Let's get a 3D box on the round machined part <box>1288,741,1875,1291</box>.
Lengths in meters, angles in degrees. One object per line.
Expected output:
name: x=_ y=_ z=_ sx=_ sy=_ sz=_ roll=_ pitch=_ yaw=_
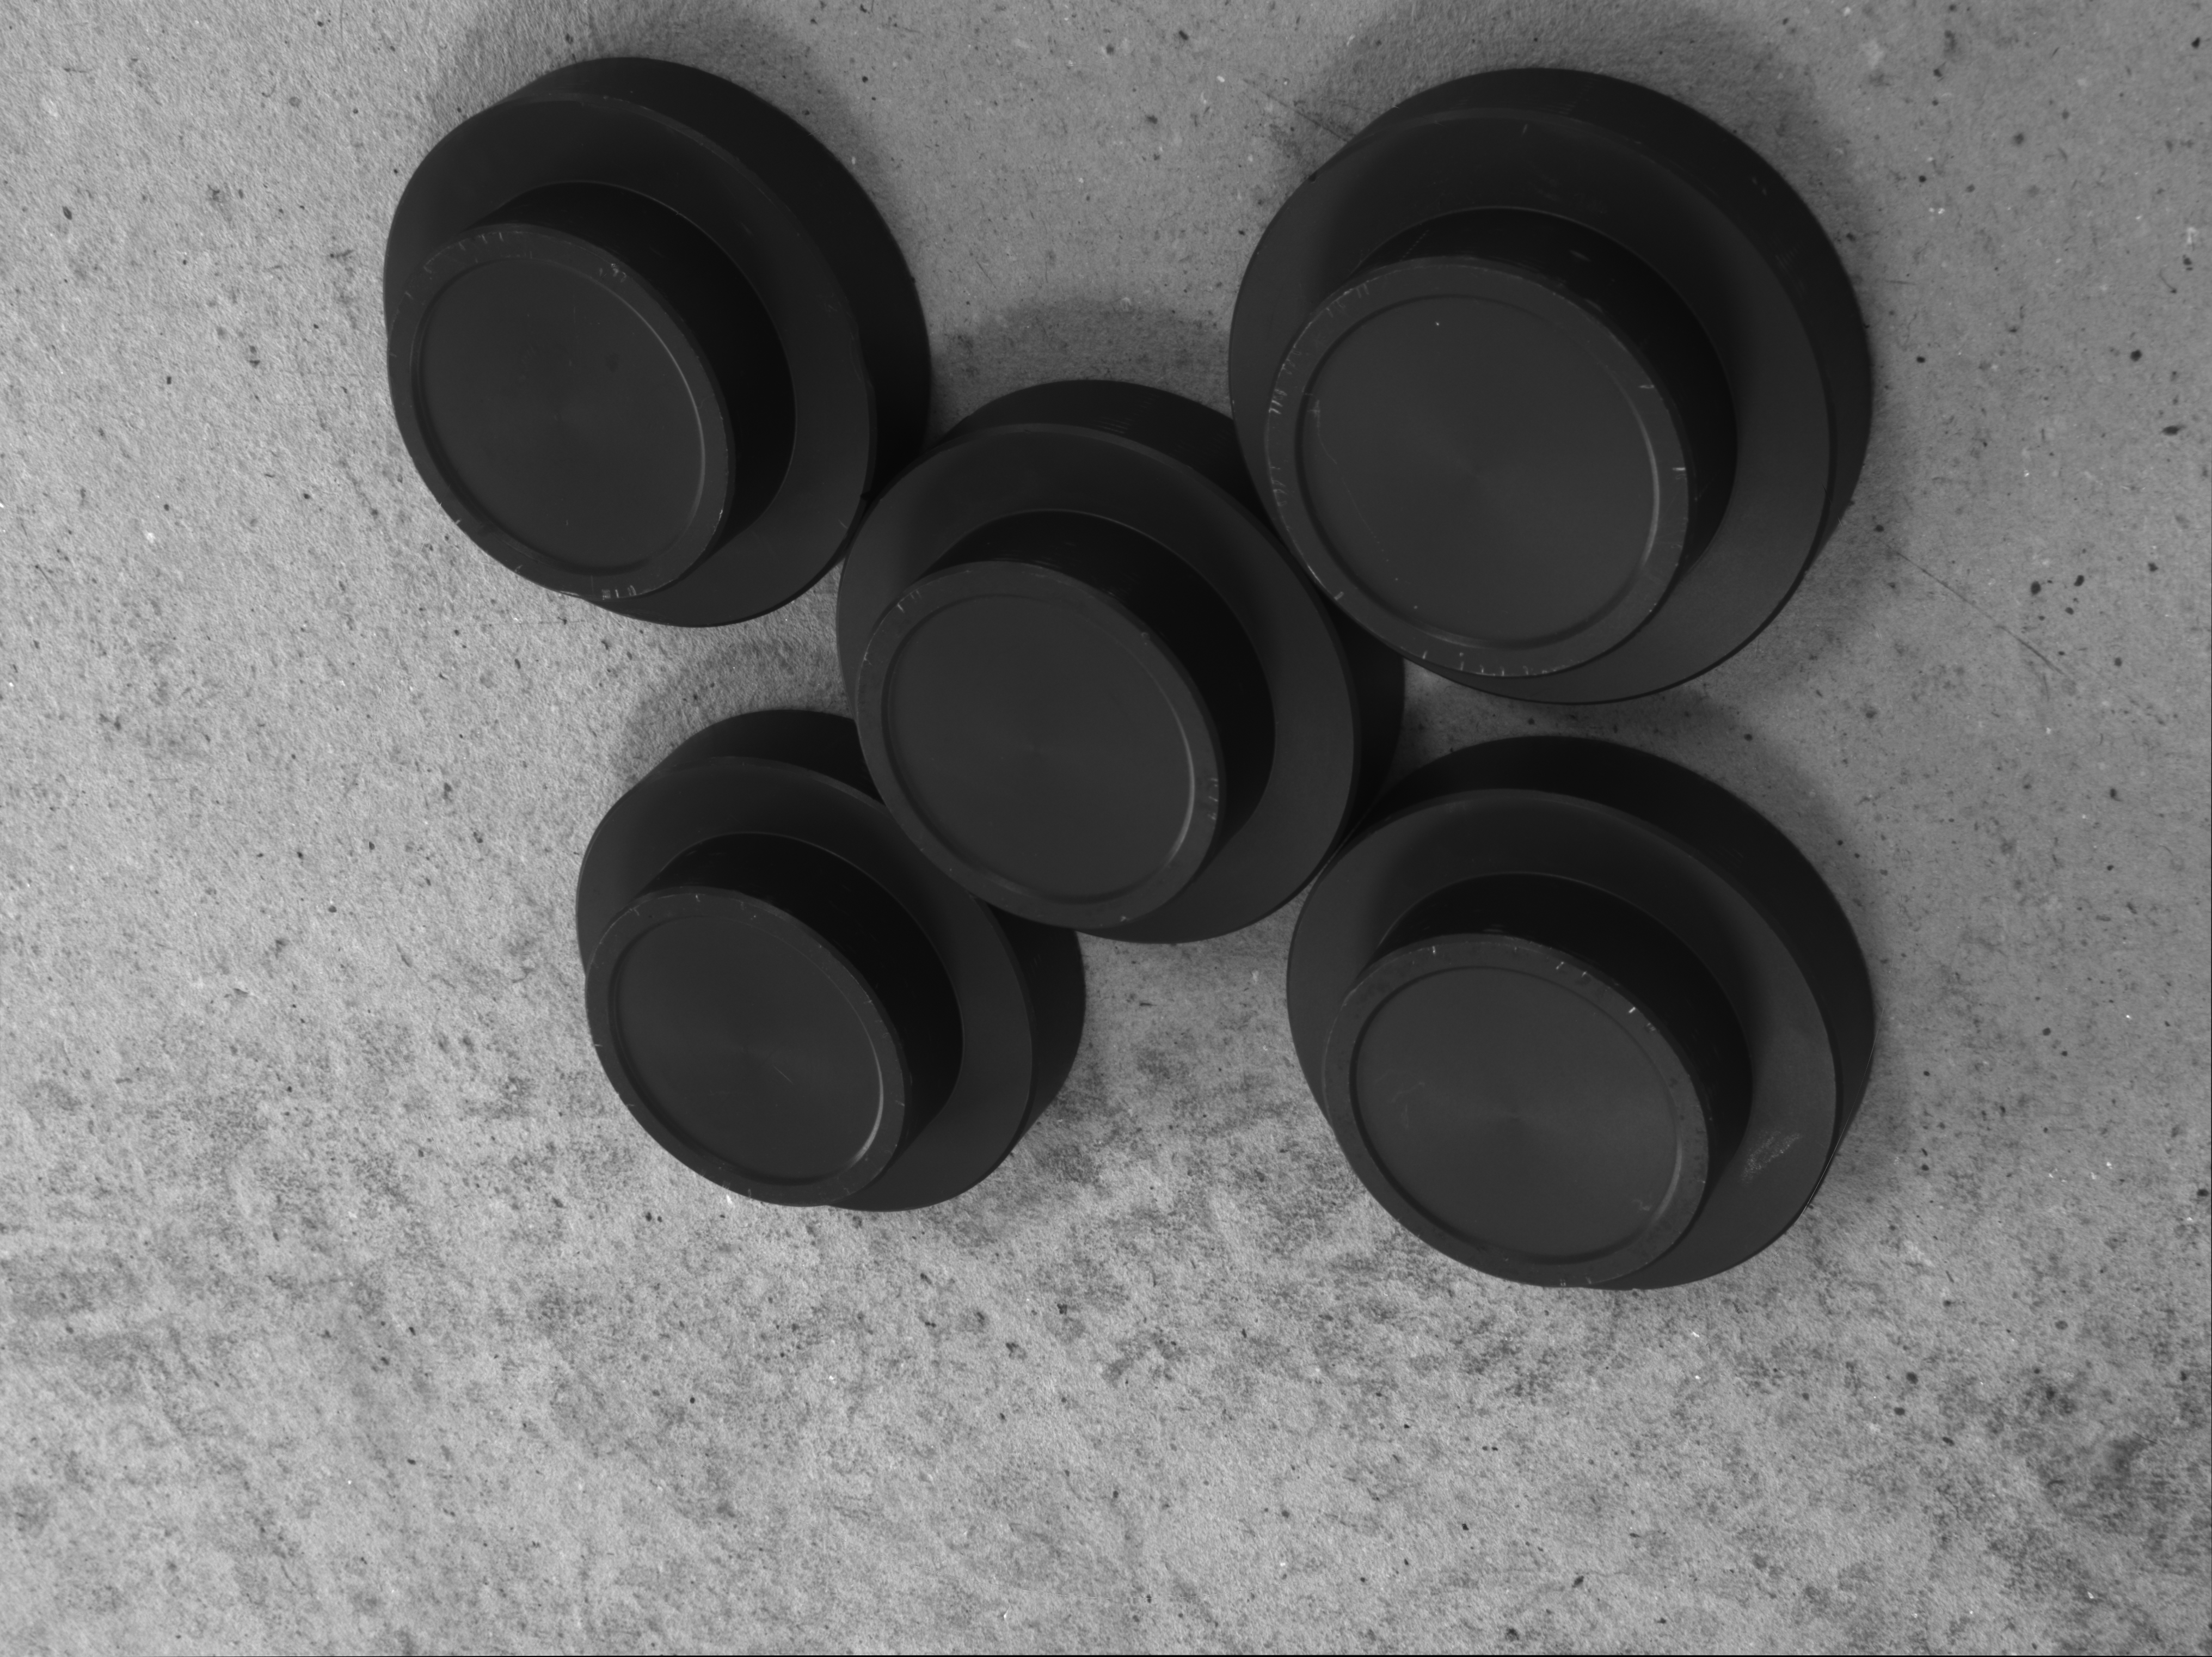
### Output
round machined part: x=0.075 y=0.038 z=0.614 sx=0.098 sy=0.042 sz=0.098 roll=14 pitch=126 yaw=21

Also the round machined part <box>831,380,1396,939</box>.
round machined part: x=-0.004 y=-0.023 z=0.620 sx=0.098 sy=0.042 sz=0.098 roll=14 pitch=126 yaw=21

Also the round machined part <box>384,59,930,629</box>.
round machined part: x=-0.083 y=-0.078 z=0.628 sx=0.098 sy=0.042 sz=0.098 roll=13 pitch=124 yaw=21

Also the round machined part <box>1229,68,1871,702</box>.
round machined part: x=0.063 y=-0.062 z=0.559 sx=0.098 sy=0.042 sz=0.098 roll=14 pitch=126 yaw=21

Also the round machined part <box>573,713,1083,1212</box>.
round machined part: x=-0.057 y=0.031 z=0.681 sx=0.098 sy=0.042 sz=0.098 roll=13 pitch=125 yaw=20
